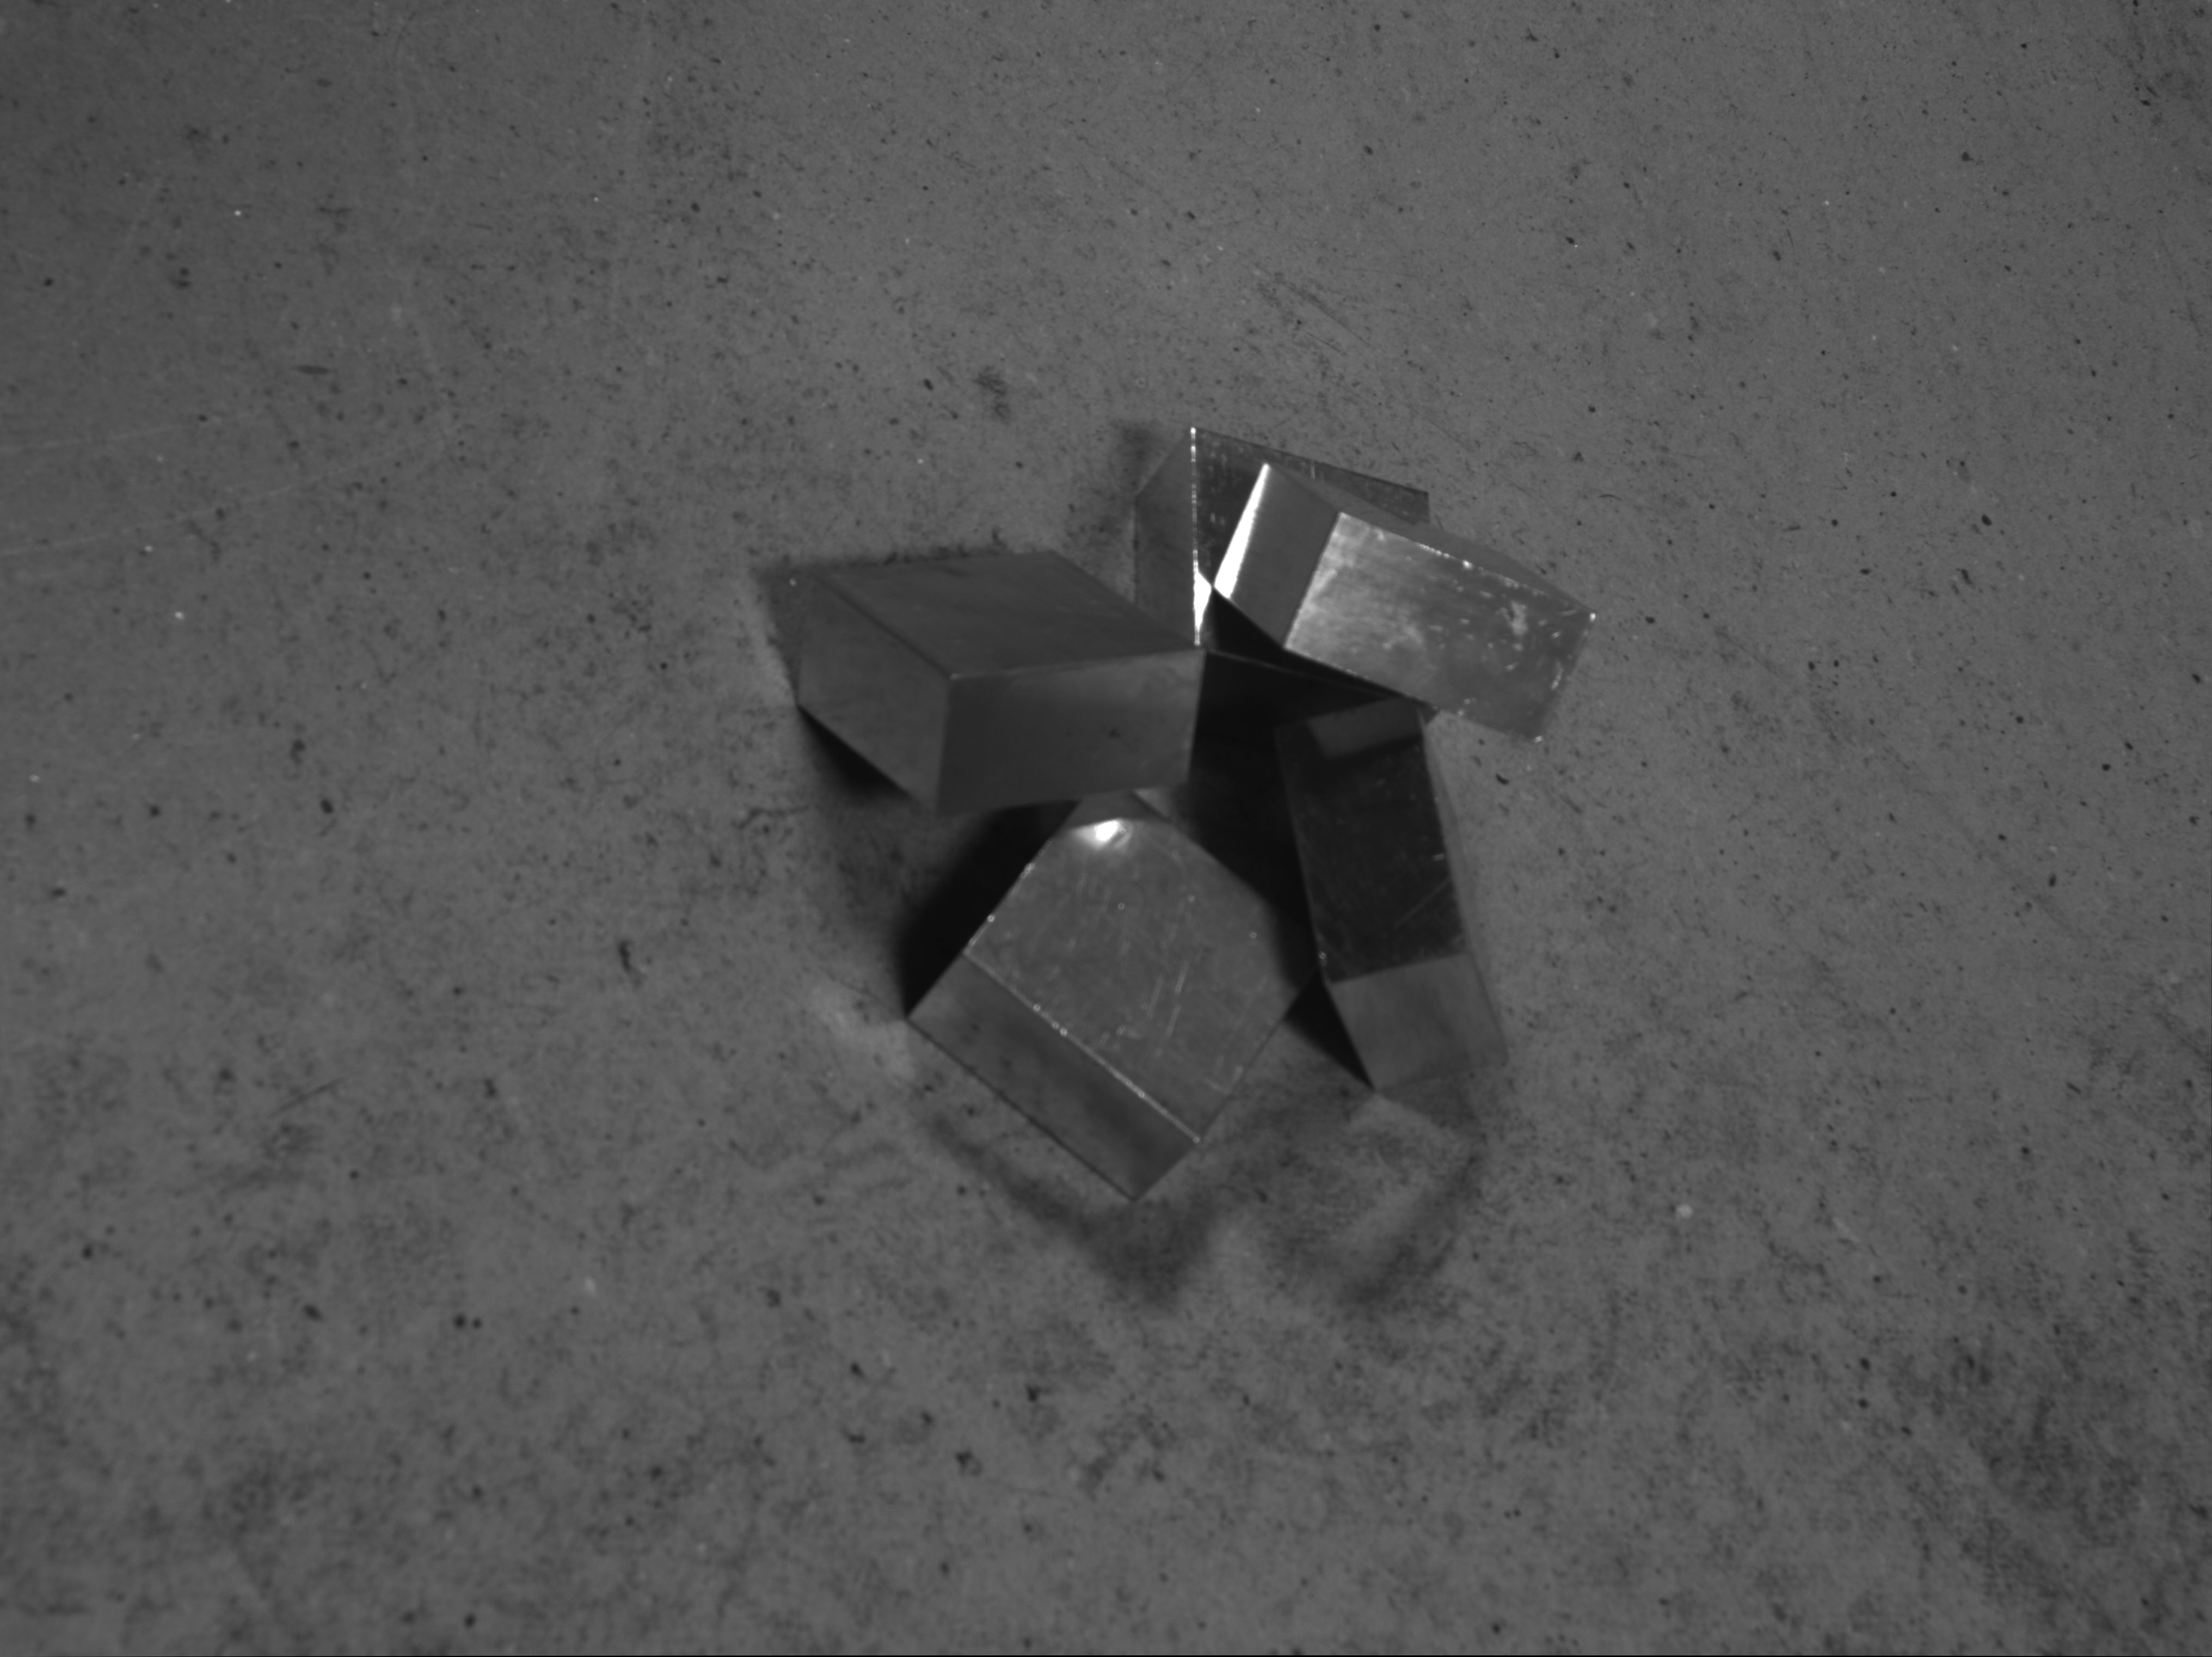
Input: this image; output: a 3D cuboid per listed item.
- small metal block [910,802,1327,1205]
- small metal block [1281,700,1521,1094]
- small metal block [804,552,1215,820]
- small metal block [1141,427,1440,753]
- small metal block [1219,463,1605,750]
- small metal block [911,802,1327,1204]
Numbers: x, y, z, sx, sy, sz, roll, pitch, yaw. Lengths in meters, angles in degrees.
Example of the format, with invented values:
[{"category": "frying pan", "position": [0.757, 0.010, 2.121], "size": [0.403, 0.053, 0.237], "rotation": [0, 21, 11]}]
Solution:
[{"category": "small metal block", "position": [0.003, 0.027, 0.626], "size": [0.050, 0.025, 0.050], "rotation": [39, 51, -2]}, {"category": "small metal block", "position": [0.052, 0.012, 0.642], "size": [0.025, 0.050, 0.050], "rotation": [-14, 62, 8]}, {"category": "small metal block", "position": [-0.017, -0.026, 0.630], "size": [0.050, 0.025, 0.050], "rotation": [-8, 28, -32]}, {"category": "small metal block", "position": [0.035, -0.042, 0.685], "size": [0.050, 0.025, 0.050], "rotation": [13, 56, -21]}, {"category": "small metal block", "position": [0.053, -0.040, 0.643], "size": [0.050, 0.025, 0.050], "rotation": [20, 11, -17]}, {"category": "small metal block", "position": [0.003, 0.027, 0.626], "size": [0.050, 0.025, 0.050], "rotation": [39, 51, -2]}]
